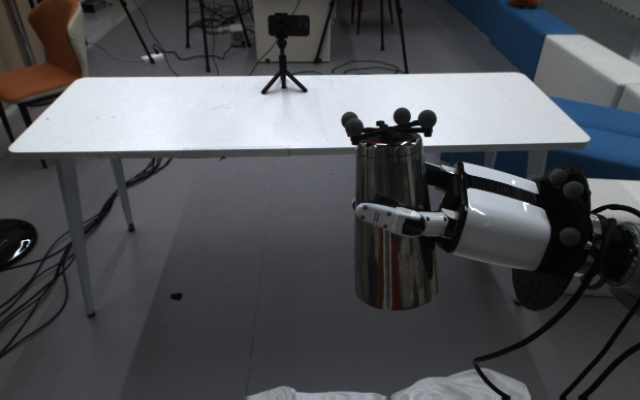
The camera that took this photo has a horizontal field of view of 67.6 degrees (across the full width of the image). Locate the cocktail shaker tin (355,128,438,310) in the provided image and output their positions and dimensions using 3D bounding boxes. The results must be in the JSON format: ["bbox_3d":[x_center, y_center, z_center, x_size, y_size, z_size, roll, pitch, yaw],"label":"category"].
[{"bbox_3d":[0.078,0.019,0.511,0.093,0.170,0.093,-6,19,2],"label":"cocktail shaker tin"}]
